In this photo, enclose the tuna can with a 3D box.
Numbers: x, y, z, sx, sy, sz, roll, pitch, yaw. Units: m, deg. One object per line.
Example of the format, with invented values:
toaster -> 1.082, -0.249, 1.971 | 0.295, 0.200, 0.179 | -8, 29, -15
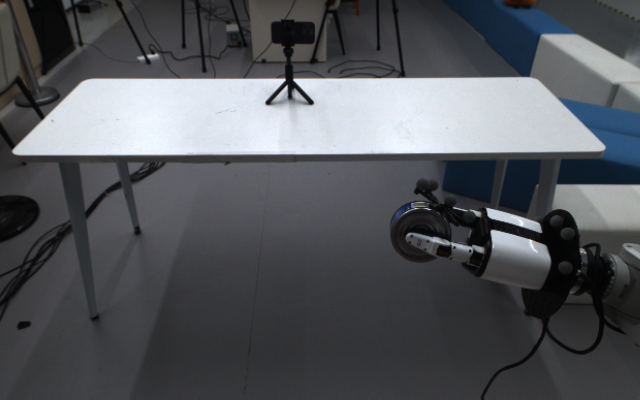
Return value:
tuna can -> 0.147, 0.051, 0.689 | 0.085, 0.085, 0.034 | 7, 19, 6
